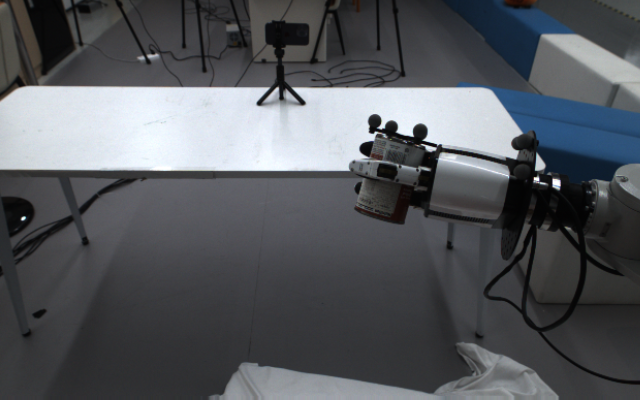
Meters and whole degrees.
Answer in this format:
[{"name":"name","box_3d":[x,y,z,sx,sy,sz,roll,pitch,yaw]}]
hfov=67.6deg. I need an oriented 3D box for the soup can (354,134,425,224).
[{"name":"soup can","box_3d":[0.091,-0.027,0.622,0.067,0.101,0.067,15,7,-2]}]
